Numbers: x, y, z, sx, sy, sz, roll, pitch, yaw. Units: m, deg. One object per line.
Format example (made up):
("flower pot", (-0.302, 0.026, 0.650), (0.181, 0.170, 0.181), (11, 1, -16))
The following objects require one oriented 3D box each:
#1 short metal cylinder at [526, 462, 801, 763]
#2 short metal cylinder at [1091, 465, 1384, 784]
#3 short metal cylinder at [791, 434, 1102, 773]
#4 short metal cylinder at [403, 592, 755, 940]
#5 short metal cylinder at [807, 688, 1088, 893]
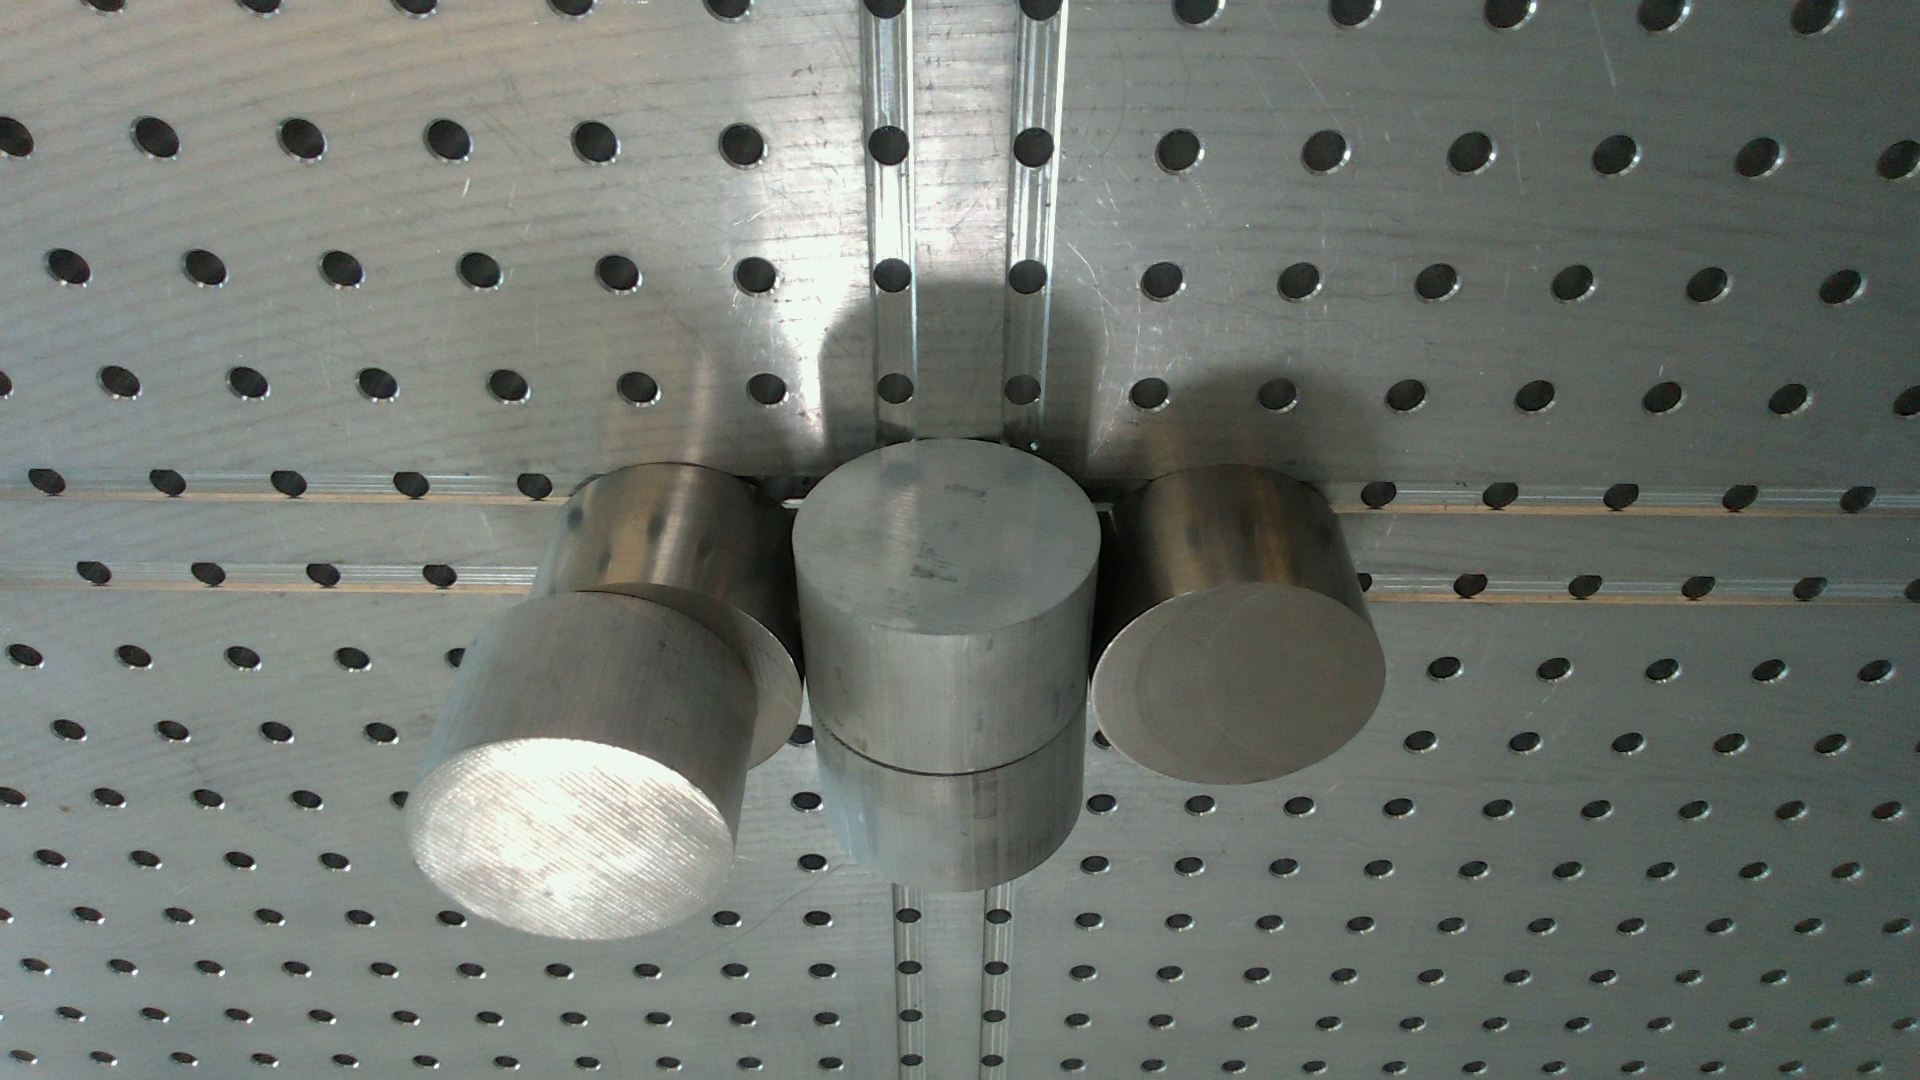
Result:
("short metal cylinder", (-0.084, 0.024, 0.398), (0.080, 0.050, 0.080), (0, 130, 0))
("short metal cylinder", (0.076, 0.025, 0.398), (0.080, 0.050, 0.080), (0, 130, 0))
("short metal cylinder", (-0.004, 0.016, 0.371), (0.080, 0.080, 0.050), (1, 131, -1))
("short metal cylinder", (-0.097, 0.060, 0.360), (0.080, 0.050, 0.080), (0, 130, 0))
("short metal cylinder", (-0.003, 0.055, 0.404), (0.080, 0.080, 0.050), (-1, 130, 1))
